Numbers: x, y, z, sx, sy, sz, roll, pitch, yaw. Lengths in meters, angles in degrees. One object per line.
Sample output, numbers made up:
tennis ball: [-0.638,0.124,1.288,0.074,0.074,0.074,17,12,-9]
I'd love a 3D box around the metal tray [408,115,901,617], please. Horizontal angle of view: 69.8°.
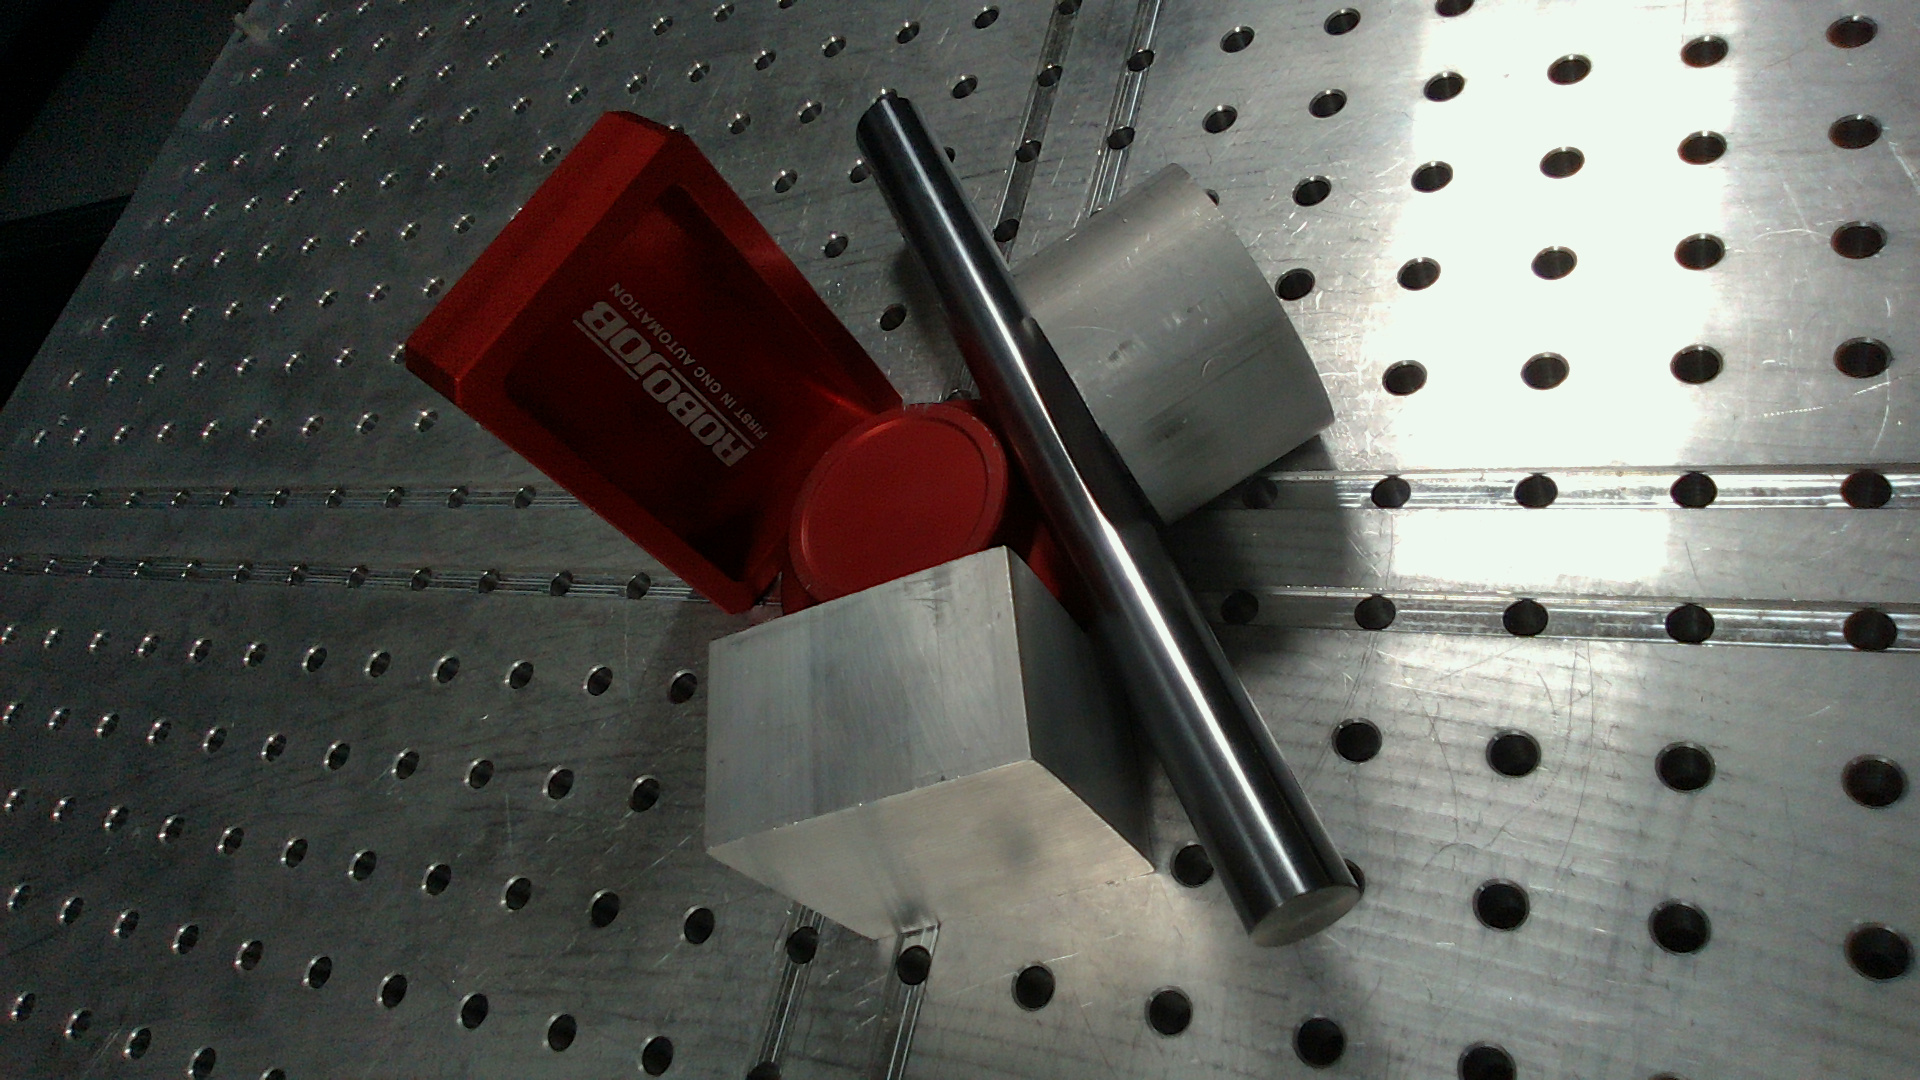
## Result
metal tray: [-0.081,-0.045,0.401,0.030,0.130,0.090,30,79,38]

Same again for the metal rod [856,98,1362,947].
metal rod: [0.024,-0.031,0.375,0.025,0.025,0.300,-31,51,9]

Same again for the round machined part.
round machined part: [-0.010,0.001,0.391,0.098,0.042,0.098,-13,56,21]

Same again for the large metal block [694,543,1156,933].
large metal block: [-0.007,0.052,0.333,0.080,0.080,0.050,-18,54,18]

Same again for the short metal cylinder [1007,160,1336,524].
short metal cylinder: [0.055,-0.051,0.362,0.050,0.080,0.080,-32,51,8]
